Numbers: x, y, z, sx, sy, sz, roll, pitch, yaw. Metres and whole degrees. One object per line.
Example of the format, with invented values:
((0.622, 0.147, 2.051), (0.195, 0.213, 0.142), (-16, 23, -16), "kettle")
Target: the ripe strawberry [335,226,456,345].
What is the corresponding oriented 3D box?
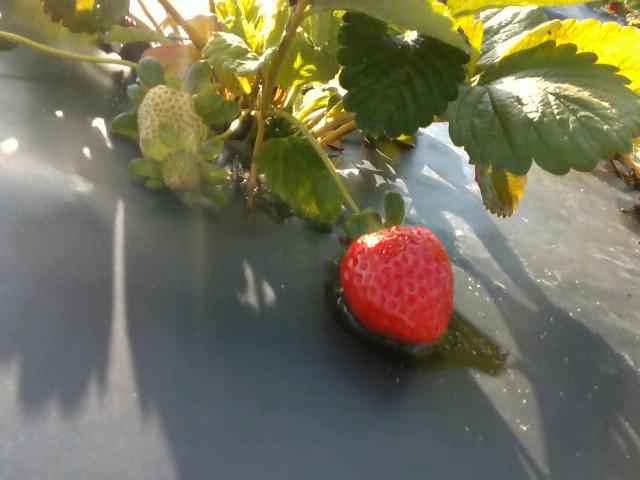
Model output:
((0.022, 0.013, 0.145), (0.030, 0.033, 0.045), (-20, 29, 7), "ripe strawberry")
